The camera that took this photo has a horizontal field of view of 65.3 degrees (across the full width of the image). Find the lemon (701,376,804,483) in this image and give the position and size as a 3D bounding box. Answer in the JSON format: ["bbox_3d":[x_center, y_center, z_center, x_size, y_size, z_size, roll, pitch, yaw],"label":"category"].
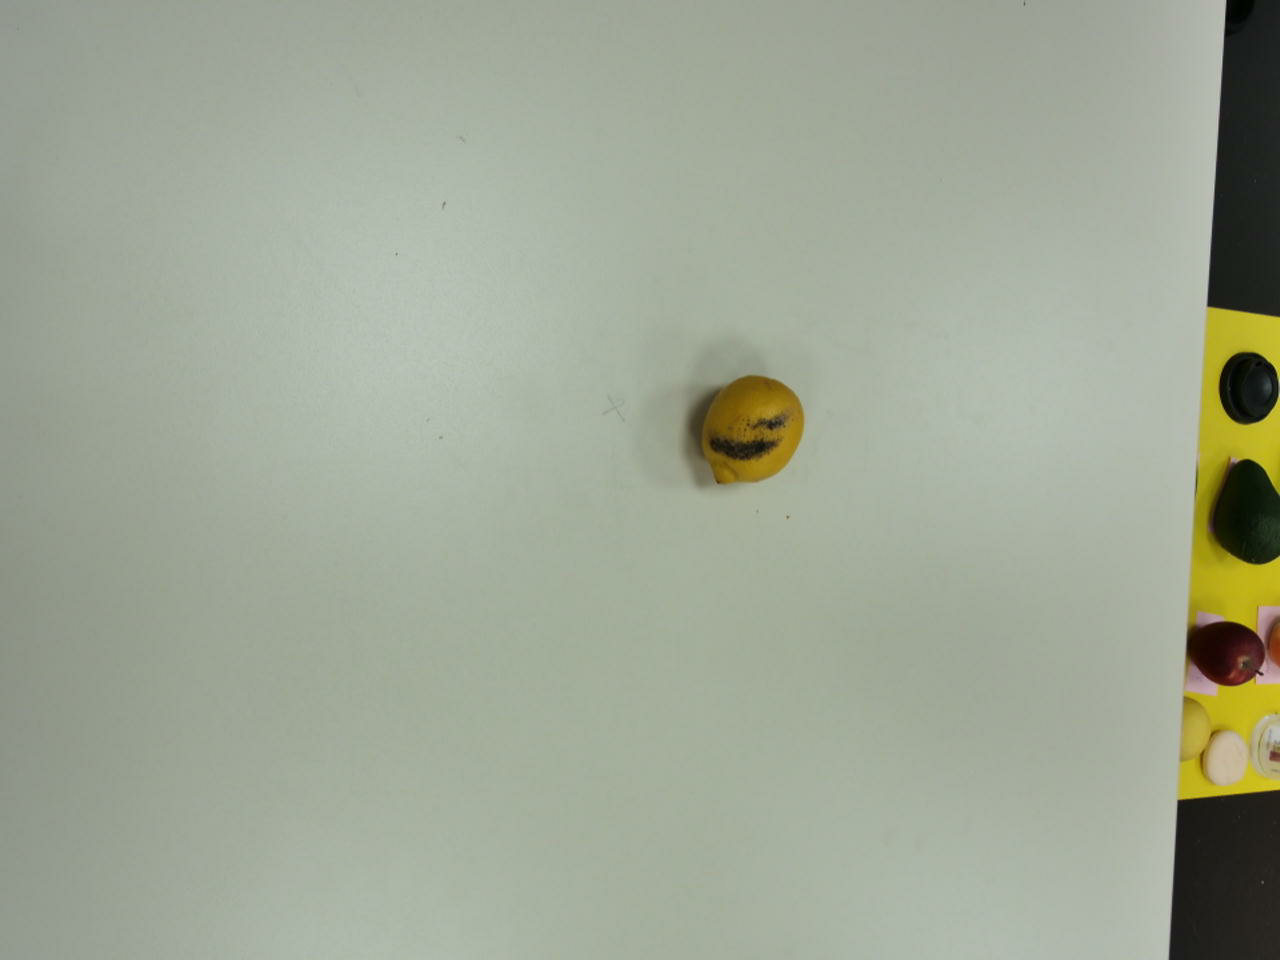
[{"bbox_3d":[0.064,-0.029,0.572,0.058,0.056,0.061,-3,91,-22],"label":"lemon"}]
